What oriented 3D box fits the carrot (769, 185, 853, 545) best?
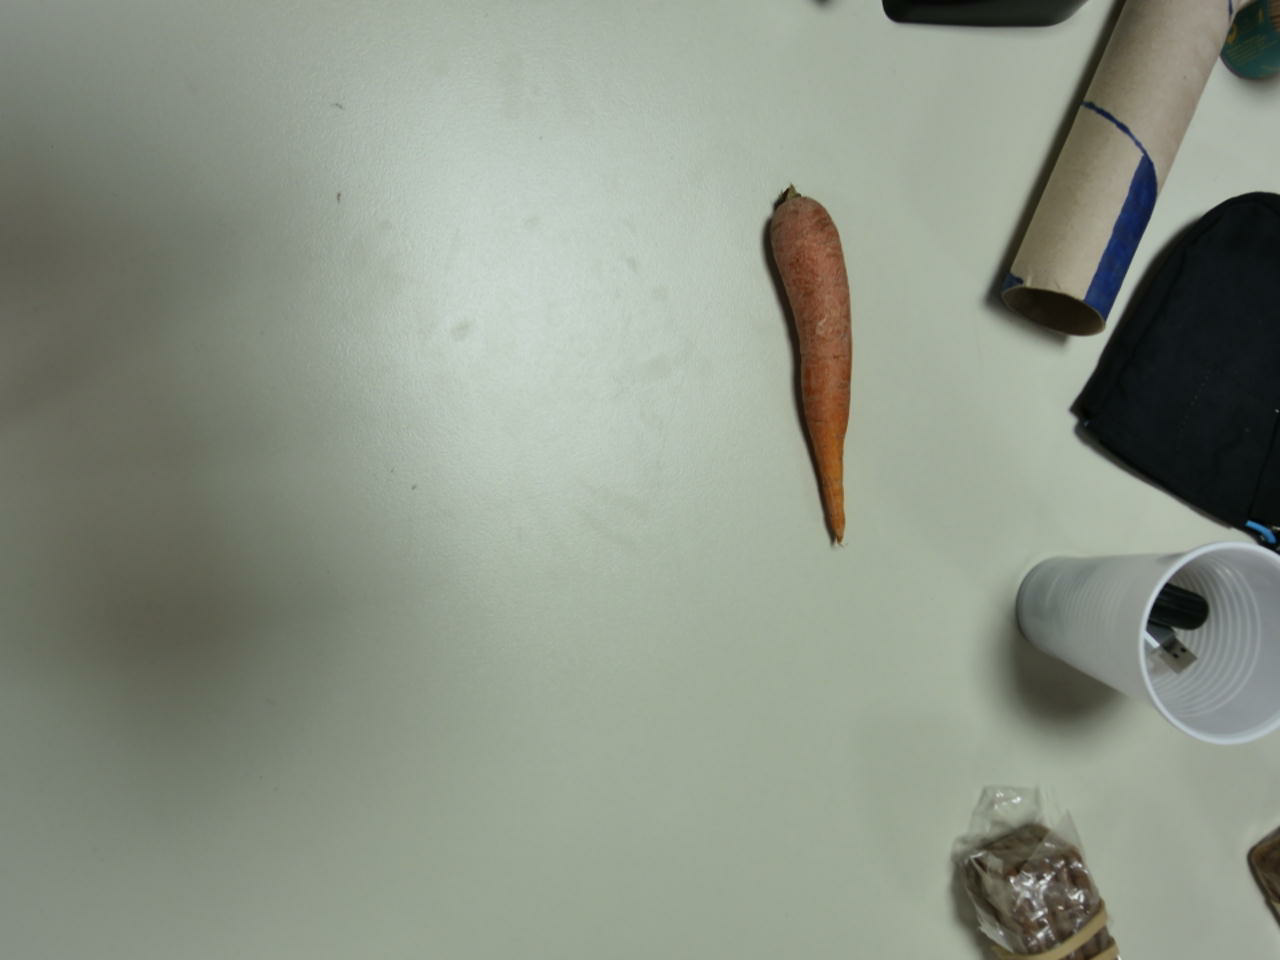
[{"bbox_3d":[0.085,-0.052,0.453,0.031,0.029,0.163,-10,93,-12],"label":"carrot"}]
